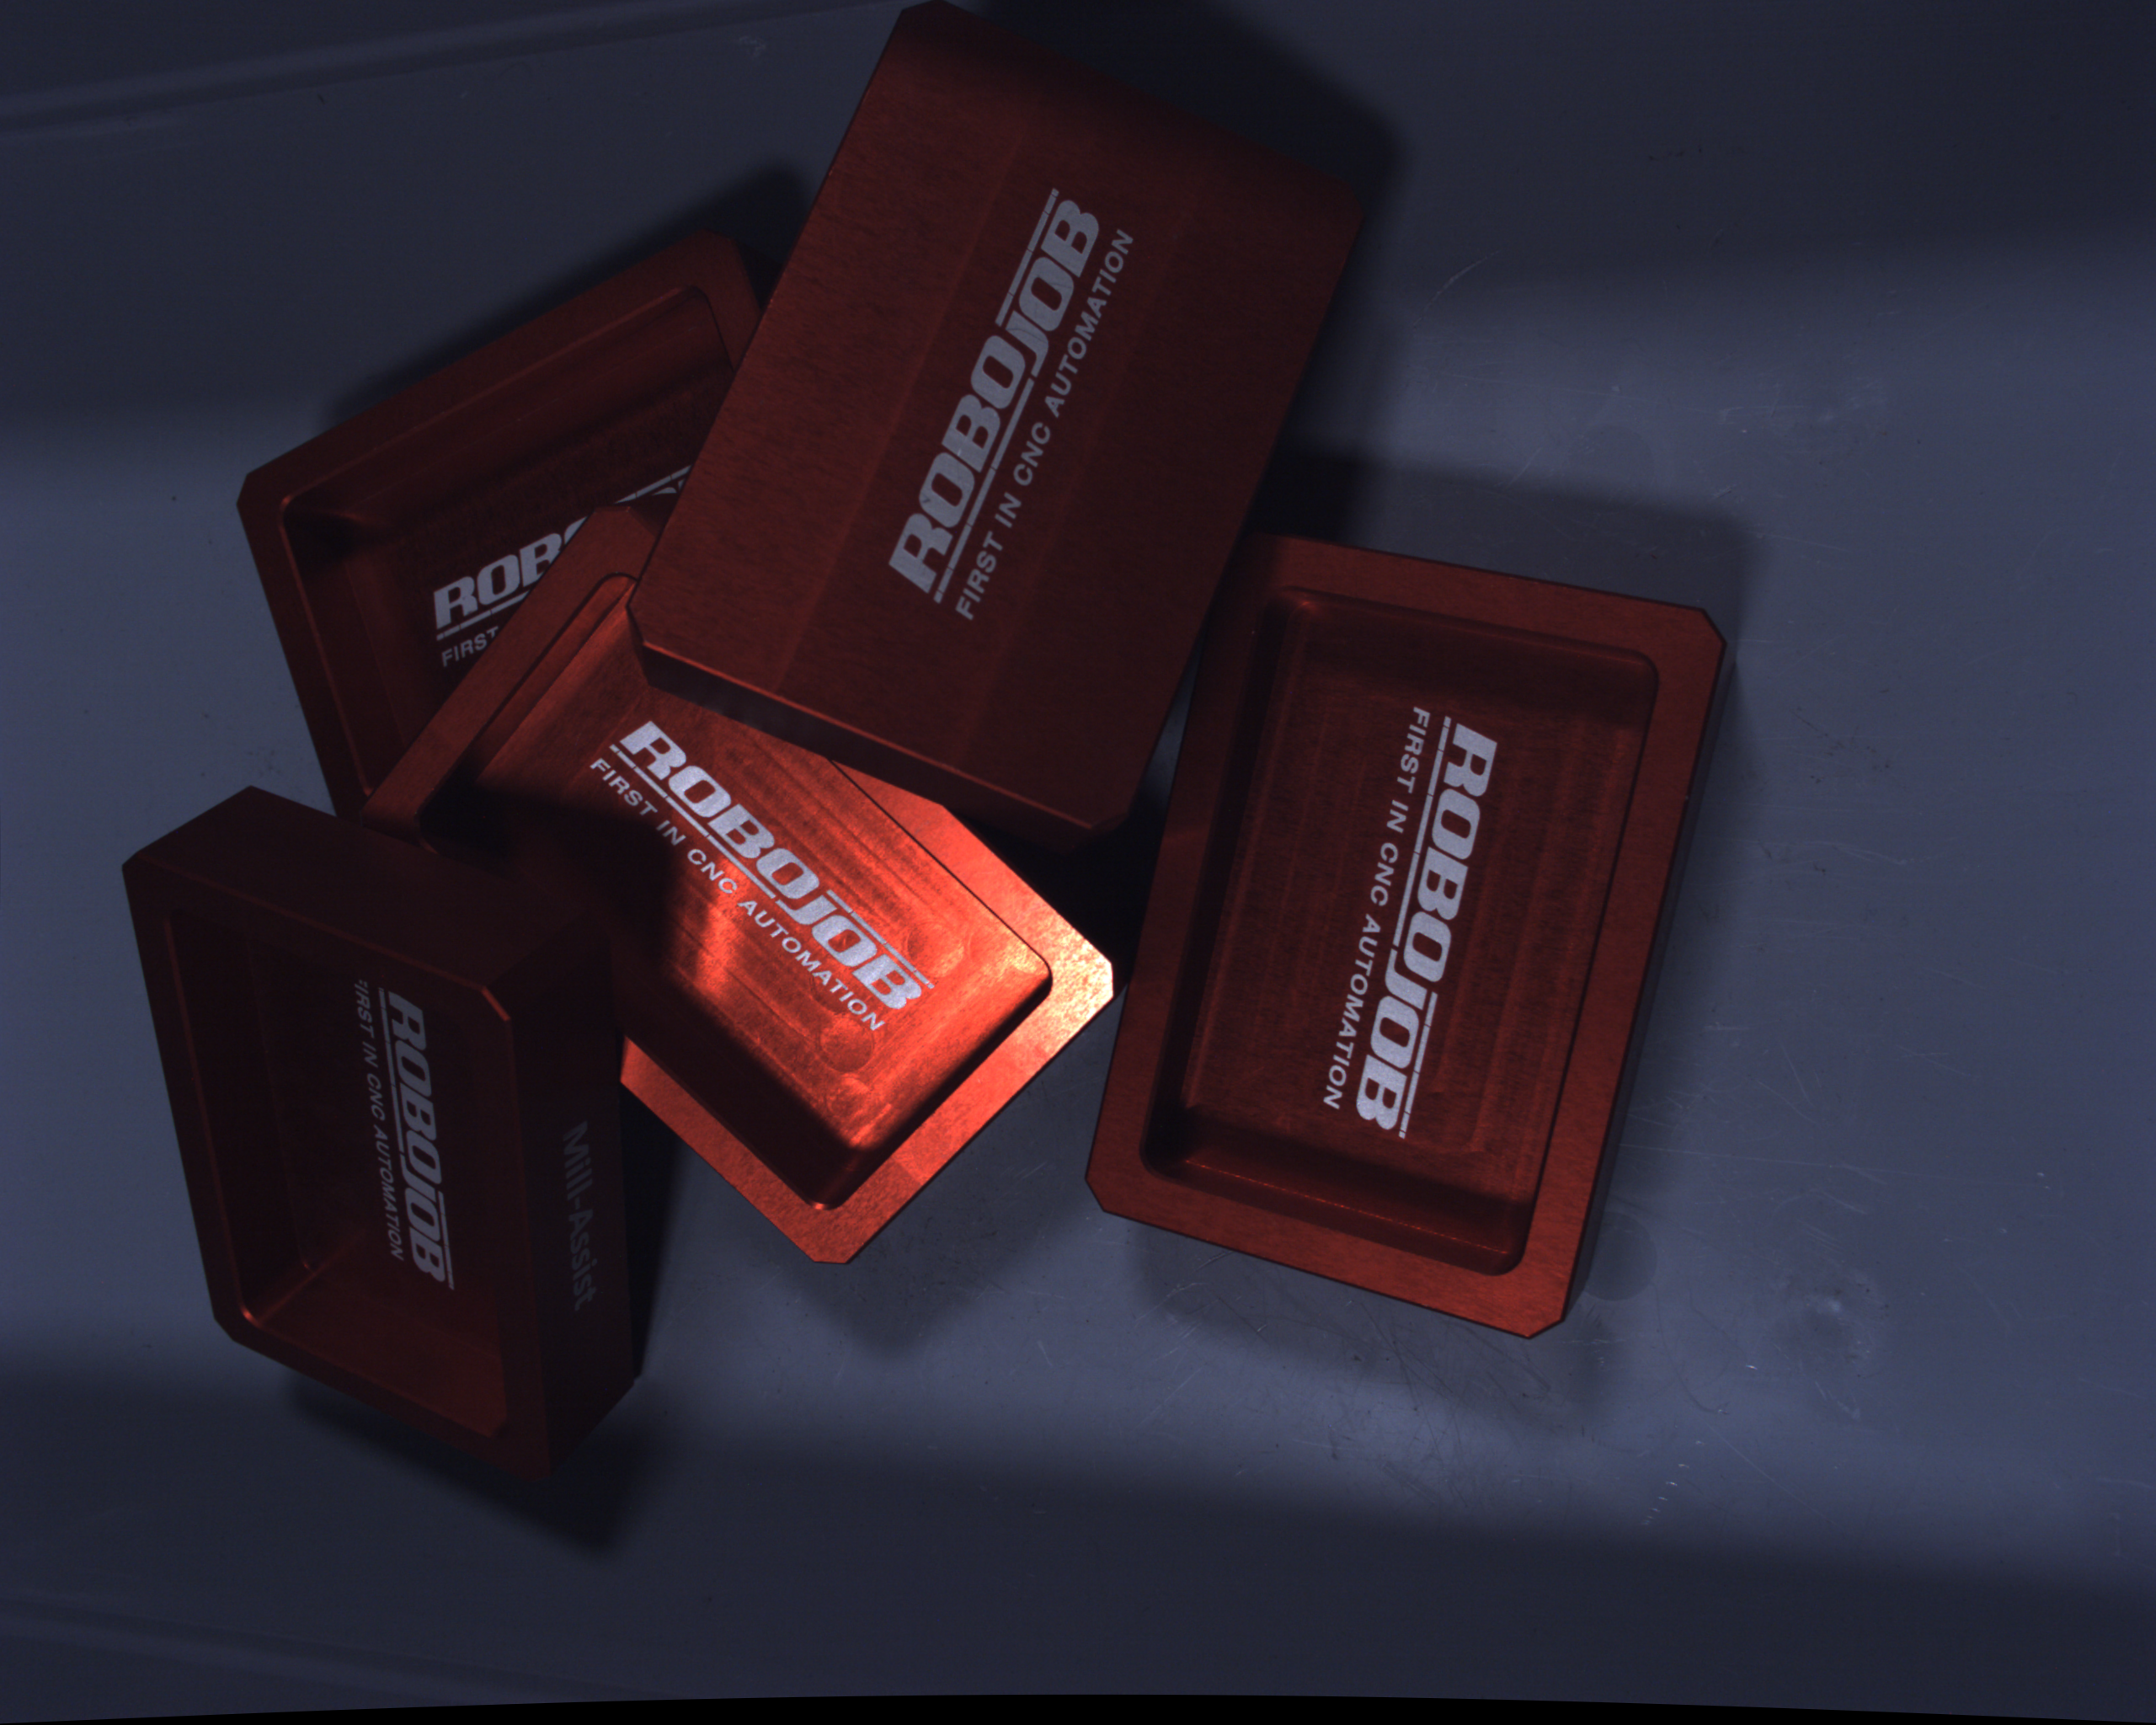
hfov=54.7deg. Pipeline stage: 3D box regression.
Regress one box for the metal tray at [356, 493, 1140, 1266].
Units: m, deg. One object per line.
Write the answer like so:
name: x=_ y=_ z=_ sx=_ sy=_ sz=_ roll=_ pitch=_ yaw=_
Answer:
metal tray: x=-0.063 y=0.004 z=0.404 sx=0.130 sy=0.030 sz=0.090 roll=43 pitch=110 yaw=-1

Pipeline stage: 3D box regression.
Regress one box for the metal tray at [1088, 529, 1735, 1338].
metal tray: x=0.061 y=0.011 z=0.384 sx=0.090 sy=0.030 sz=0.129 roll=13 pitch=94 yaw=19

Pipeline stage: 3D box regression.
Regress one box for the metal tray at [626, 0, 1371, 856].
metal tray: x=-0.013 y=-0.077 z=0.373 sx=0.090 sy=0.030 sz=0.130 roll=23 pitch=78 yaw=-5

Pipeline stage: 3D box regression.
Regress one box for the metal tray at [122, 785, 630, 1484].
metal tray: x=-0.139 y=0.057 z=0.422 sx=0.090 sy=0.030 sz=0.129 roll=18 pitch=125 yaw=19

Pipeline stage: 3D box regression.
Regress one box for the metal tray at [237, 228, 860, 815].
metal tray: x=-0.107 y=-0.064 z=0.442 sx=0.130 sy=0.030 sz=0.090 roll=-22 pitch=83 yaw=18
